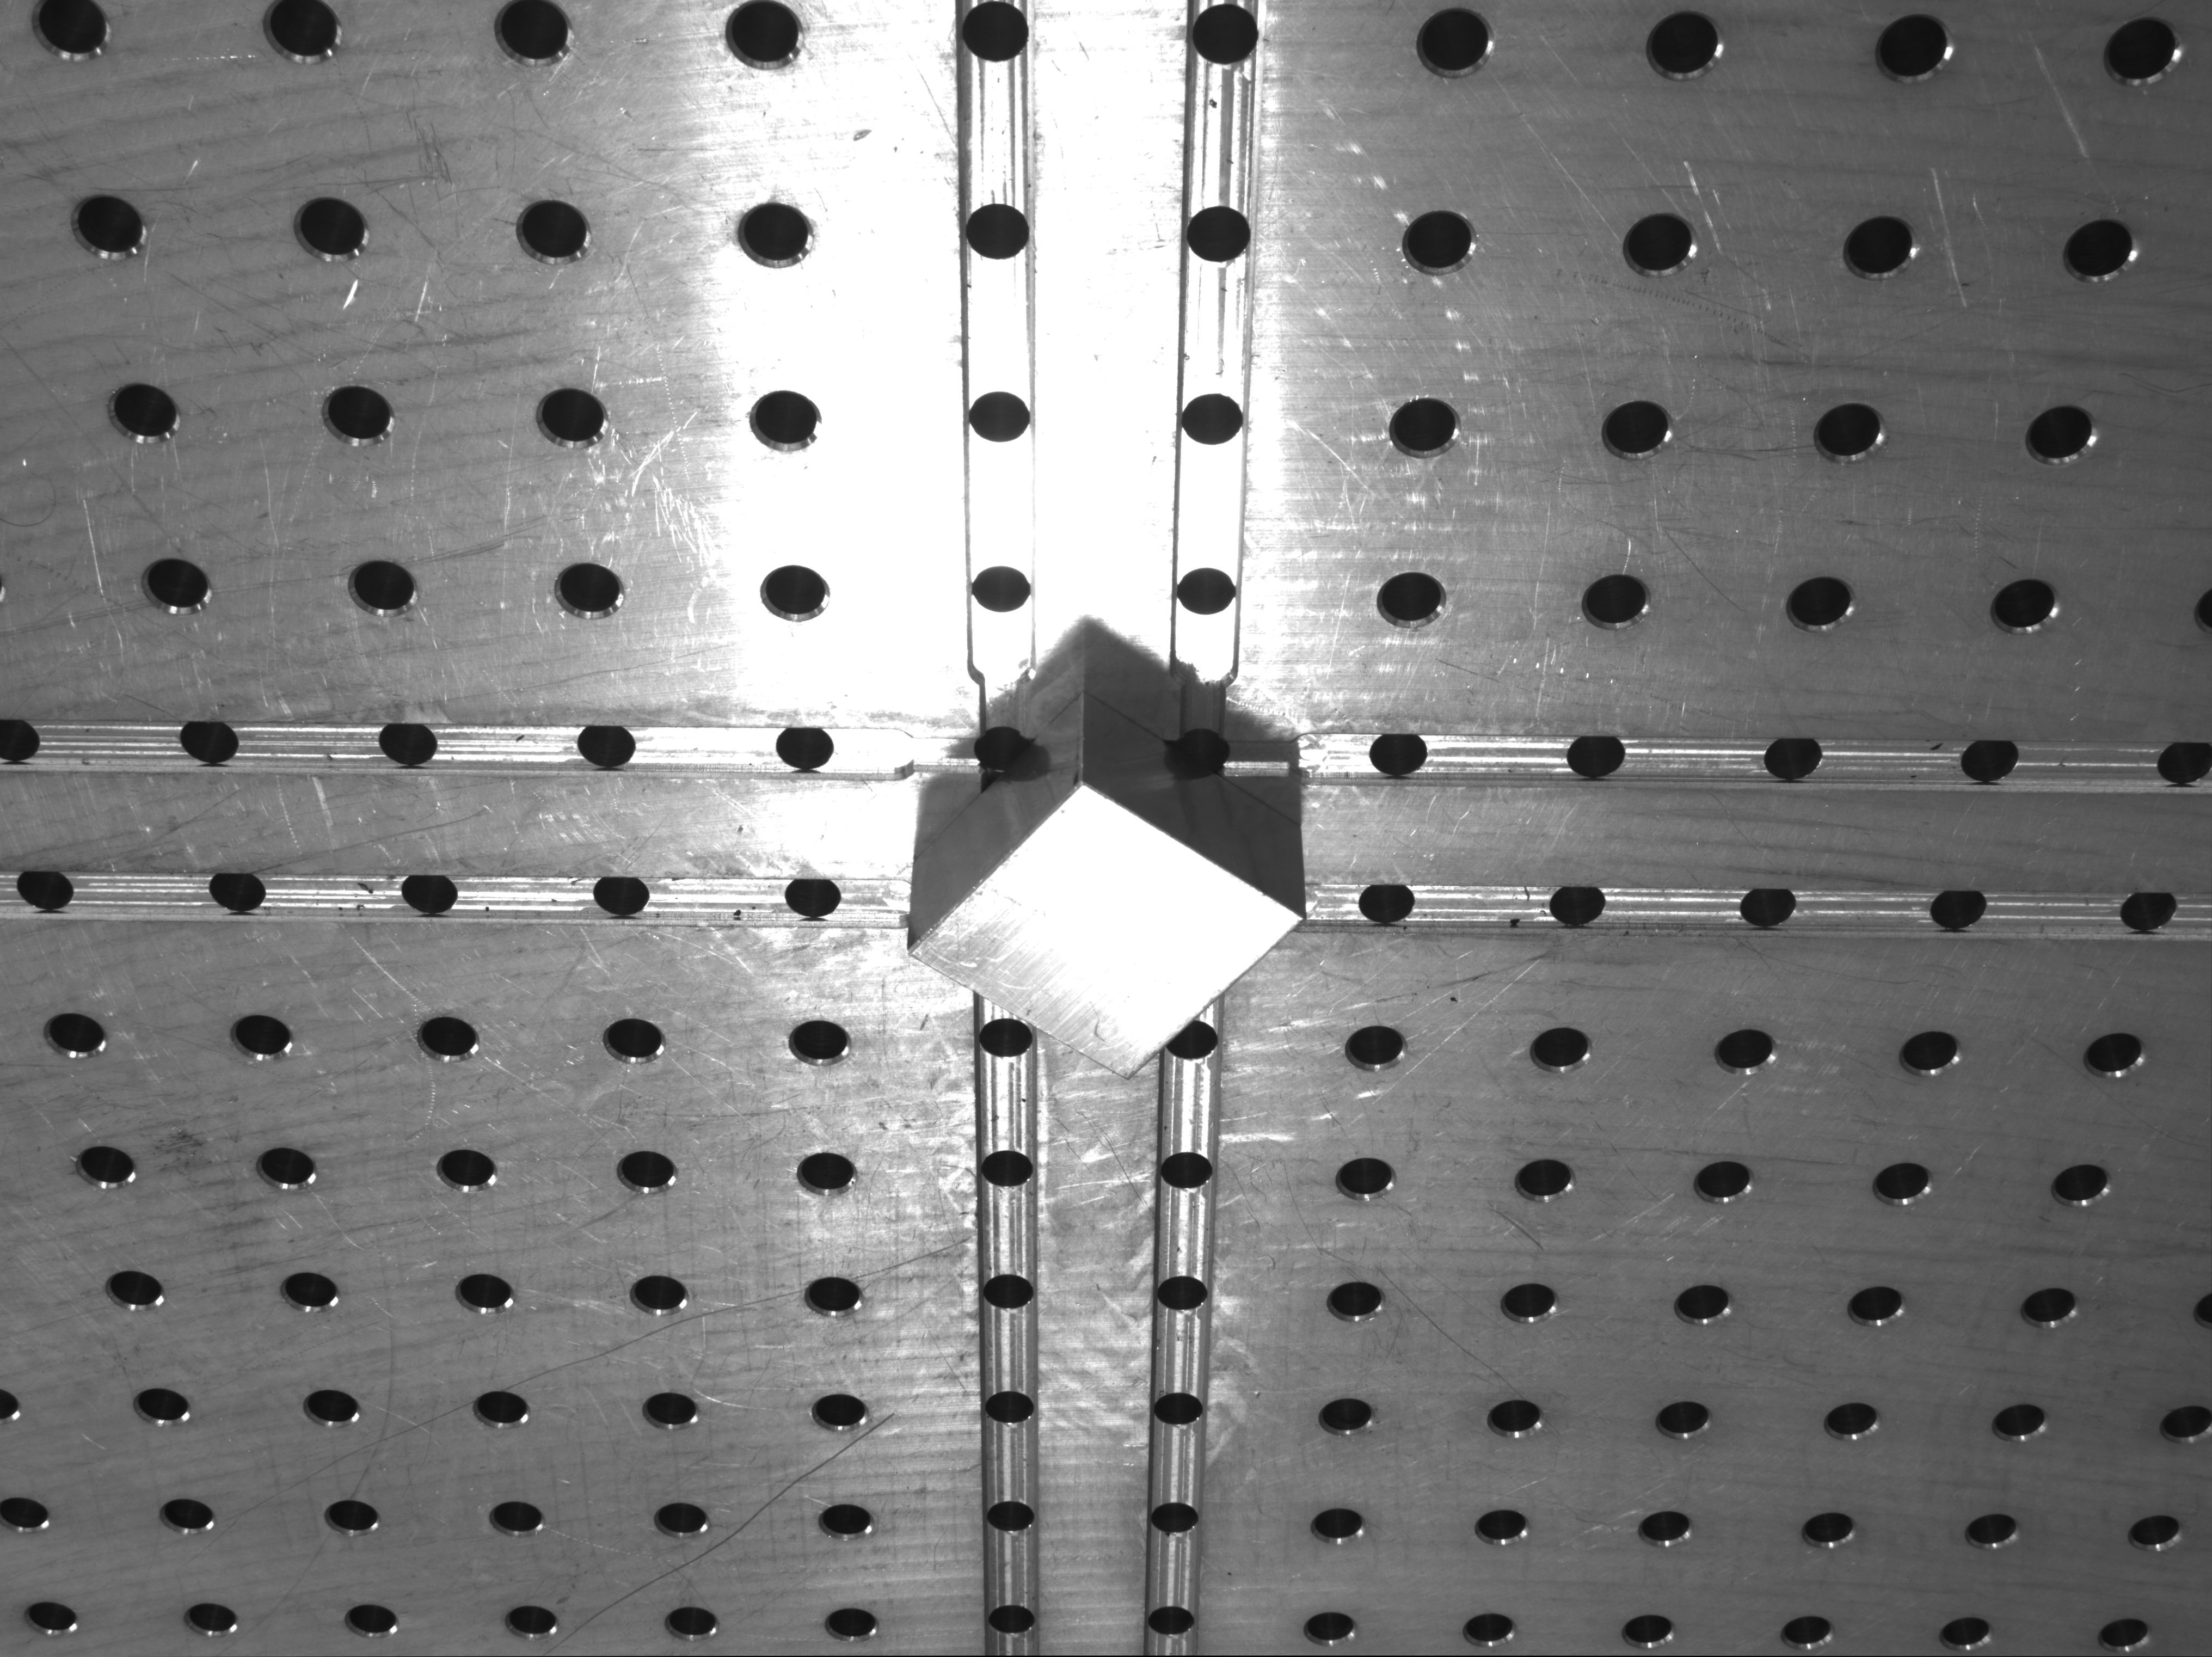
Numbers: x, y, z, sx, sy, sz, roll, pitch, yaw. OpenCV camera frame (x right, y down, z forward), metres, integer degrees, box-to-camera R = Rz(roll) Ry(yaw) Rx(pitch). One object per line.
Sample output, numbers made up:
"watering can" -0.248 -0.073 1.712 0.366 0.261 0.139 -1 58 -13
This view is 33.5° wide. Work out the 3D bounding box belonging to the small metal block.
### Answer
"small metal block" 0.000 0.011 0.652 0.050 0.025 0.050 31 124 -24
